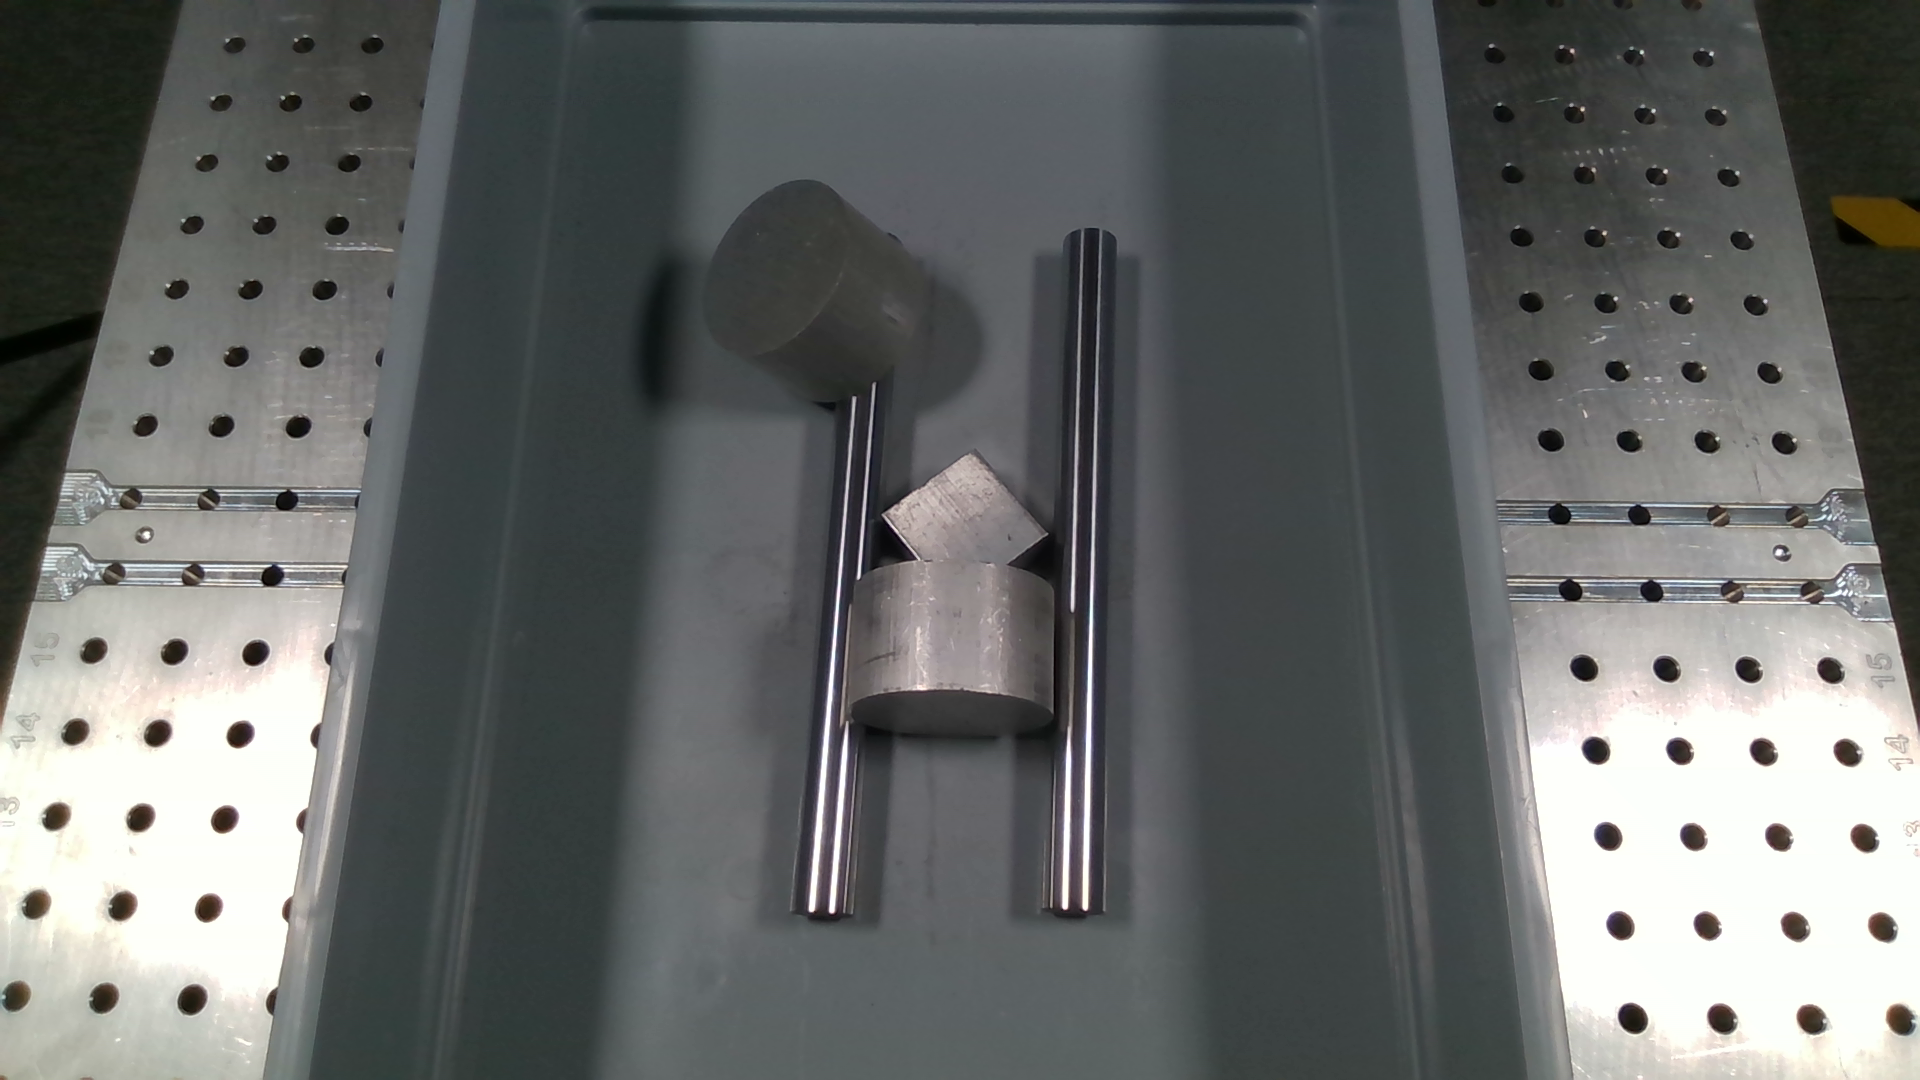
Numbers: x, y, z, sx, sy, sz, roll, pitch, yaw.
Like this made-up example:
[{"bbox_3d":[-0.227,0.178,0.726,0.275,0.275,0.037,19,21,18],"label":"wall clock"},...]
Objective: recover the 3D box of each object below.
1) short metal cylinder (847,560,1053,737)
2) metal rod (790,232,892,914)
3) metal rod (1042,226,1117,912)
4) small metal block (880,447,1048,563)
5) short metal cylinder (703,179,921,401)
[{"bbox_3d":[-0.003,0.045,0.542,0.080,0.080,0.050,2,70,1],"label":"short metal cylinder"},{"bbox_3d":[-0.046,0.004,0.585,0.025,0.025,0.299,3,70,1],"label":"metal rod"},{"bbox_3d":[0.052,0.003,0.585,0.025,0.025,0.299,3,70,1],"label":"metal rod"},{"bbox_3d":[0.002,-0.002,0.588,0.050,0.025,0.050,-36,74,-12],"label":"small metal block"},{"bbox_3d":[-0.064,-0.107,0.593,0.080,0.050,0.080,-14,64,31],"label":"short metal cylinder"}]
